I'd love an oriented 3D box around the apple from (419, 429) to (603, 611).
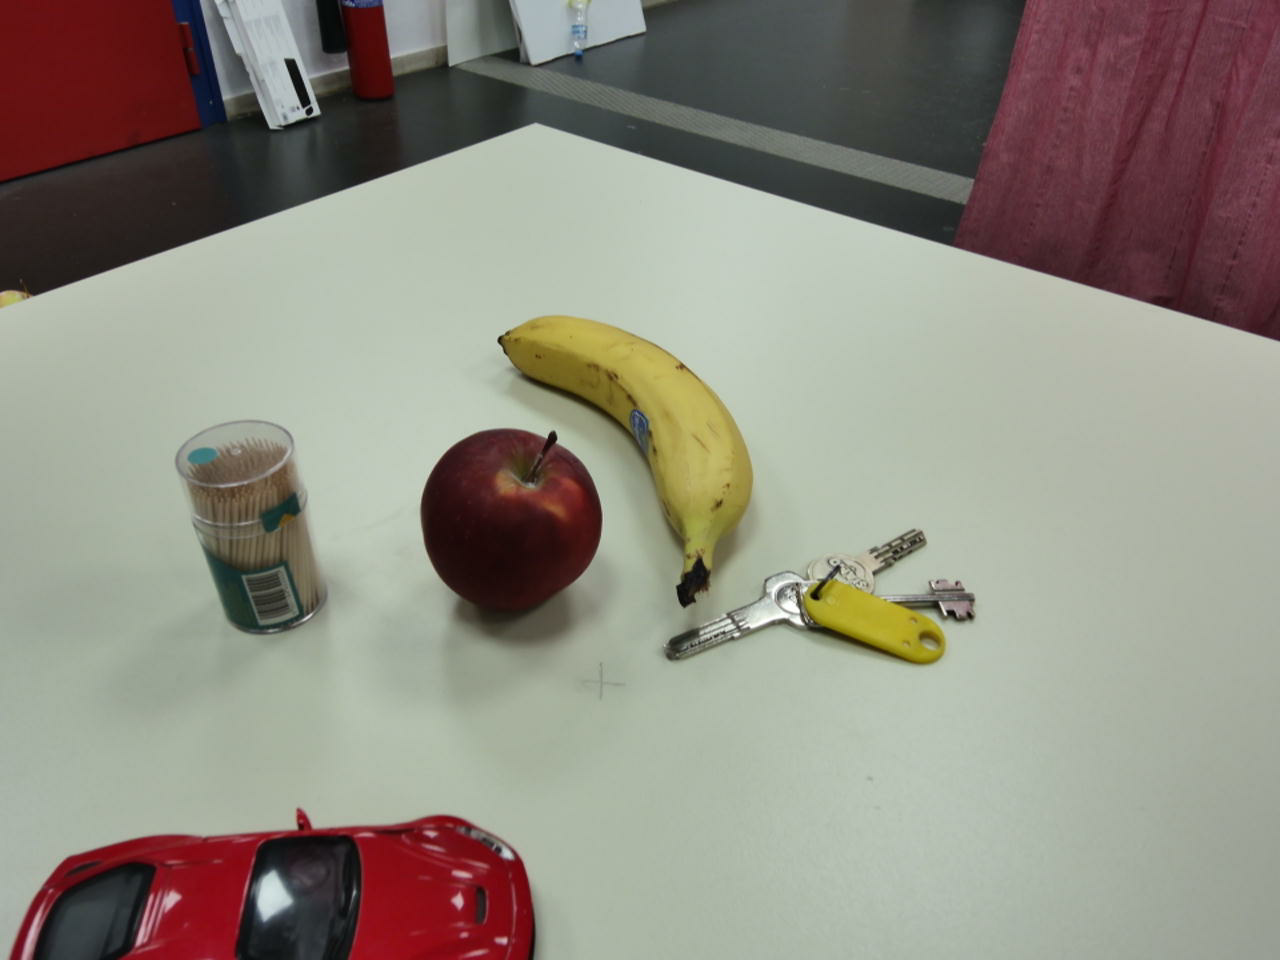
[{"bbox_3d":[-0.050,0.016,0.388,0.070,0.072,0.070,1,36,0],"label":"apple"}]
